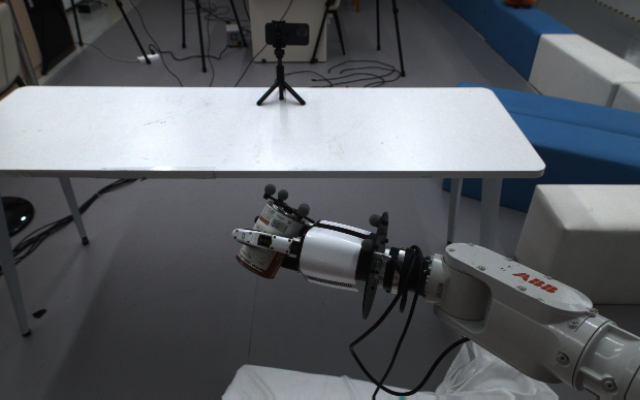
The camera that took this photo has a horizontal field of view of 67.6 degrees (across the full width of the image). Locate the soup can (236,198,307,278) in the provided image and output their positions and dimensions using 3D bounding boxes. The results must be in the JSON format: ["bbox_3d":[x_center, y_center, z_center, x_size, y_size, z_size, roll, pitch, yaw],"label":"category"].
[{"bbox_3d":[-0.074,0.062,0.741,0.067,0.101,0.067,30,2,-1],"label":"soup can"}]
